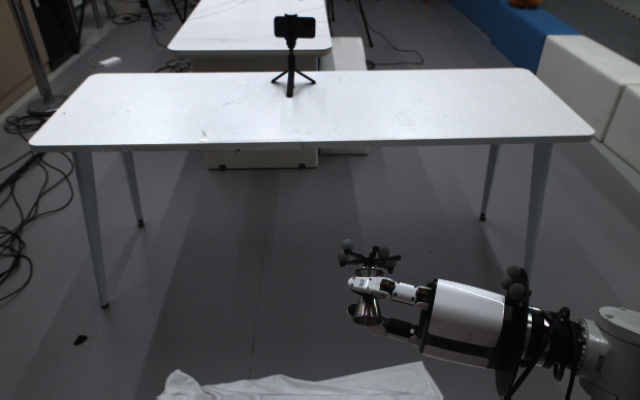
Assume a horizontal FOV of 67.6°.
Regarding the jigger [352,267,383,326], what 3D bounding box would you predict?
[{"bbox_3d":[0.064,0.126,0.644,0.043,0.043,0.071,4,61,3],"label":"jigger"}]
